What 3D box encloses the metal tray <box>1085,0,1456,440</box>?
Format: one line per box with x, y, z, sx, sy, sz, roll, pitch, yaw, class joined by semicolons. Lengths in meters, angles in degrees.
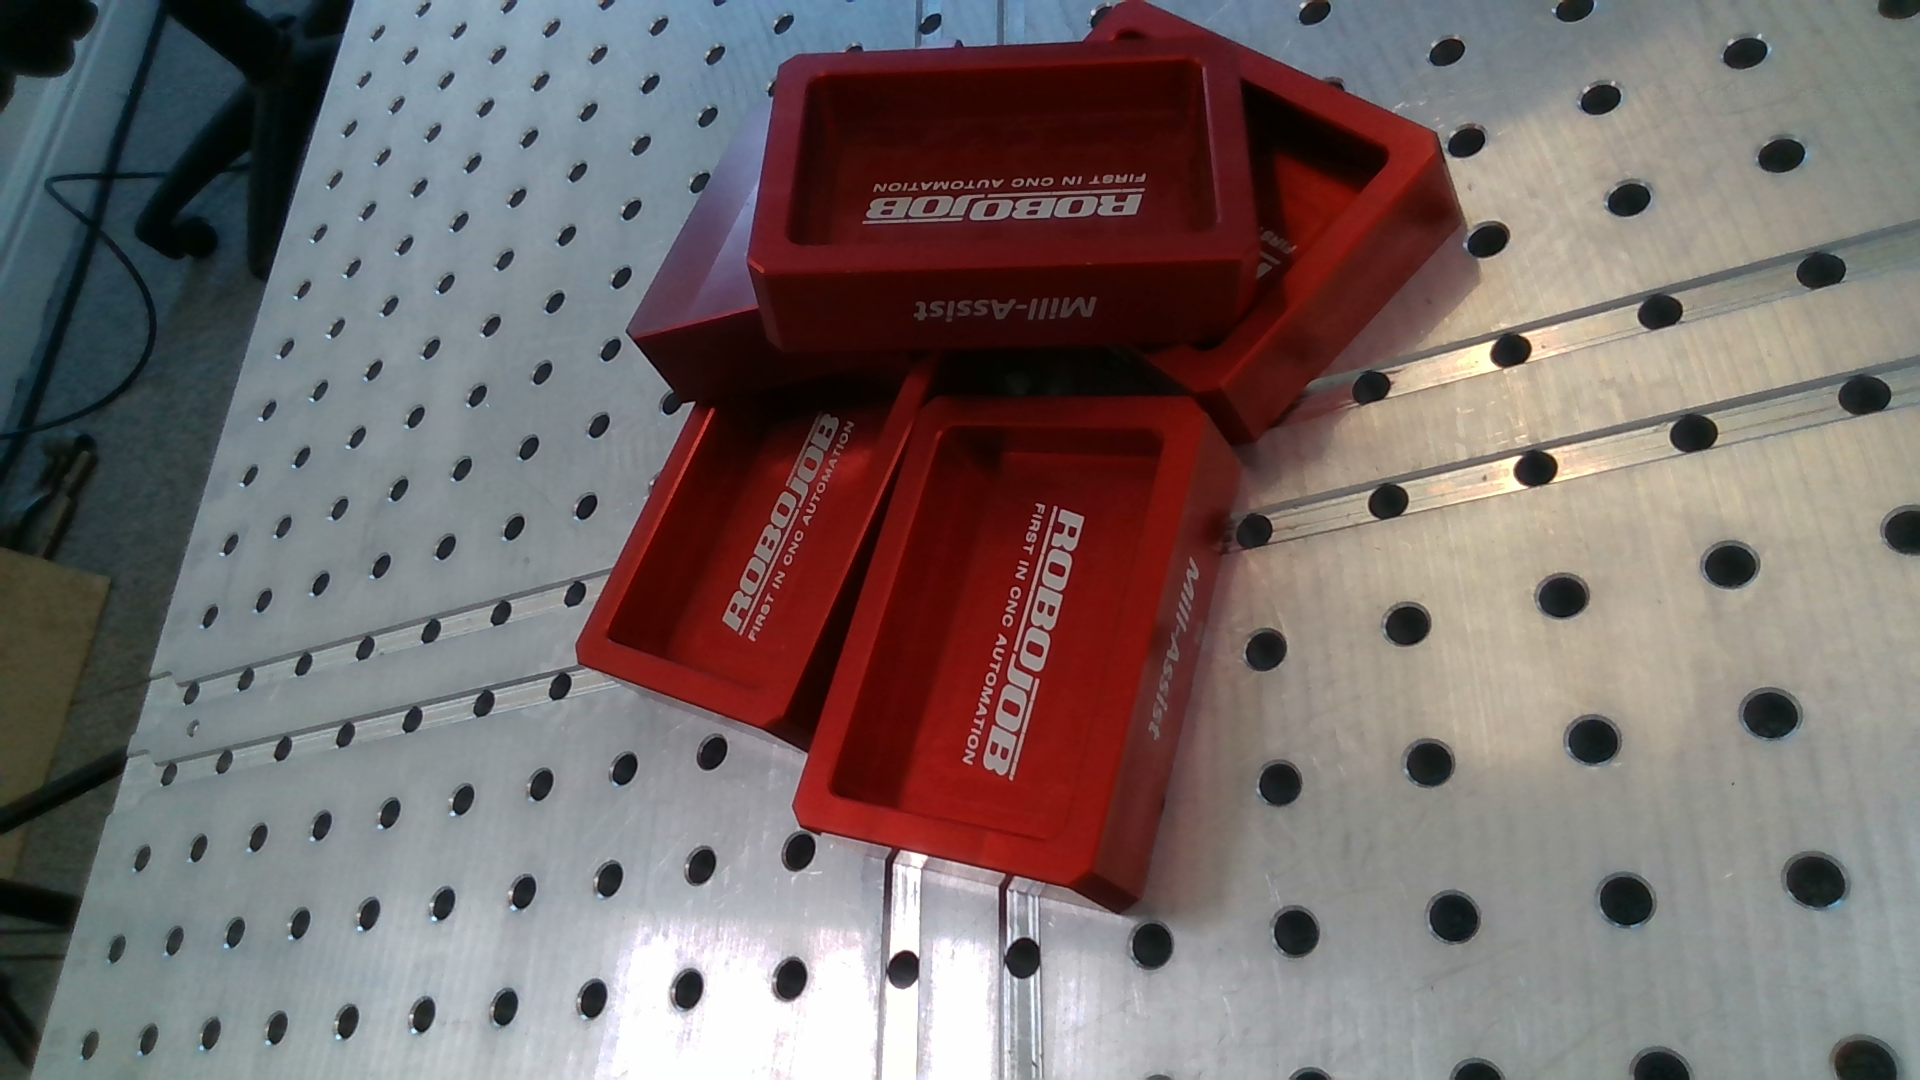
0.064;-0.098;0.404;0.090;0.030;0.130;-47;51;1;metal tray

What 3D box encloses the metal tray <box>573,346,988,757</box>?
-0.056;-0.006;0.429;0.090;0.030;0.130;12;72;36;metal tray

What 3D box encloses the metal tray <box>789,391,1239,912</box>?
0.015;0.024;0.369;0.090;0.030;0.130;4;68;34;metal tray

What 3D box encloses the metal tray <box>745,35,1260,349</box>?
0.012;-0.097;0.381;0.130;0.030;0.090;-1;55;5;metal tray

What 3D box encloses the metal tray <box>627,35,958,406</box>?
-0.047;-0.107;0.456;0.090;0.030;0.130;-8;47;29;metal tray
